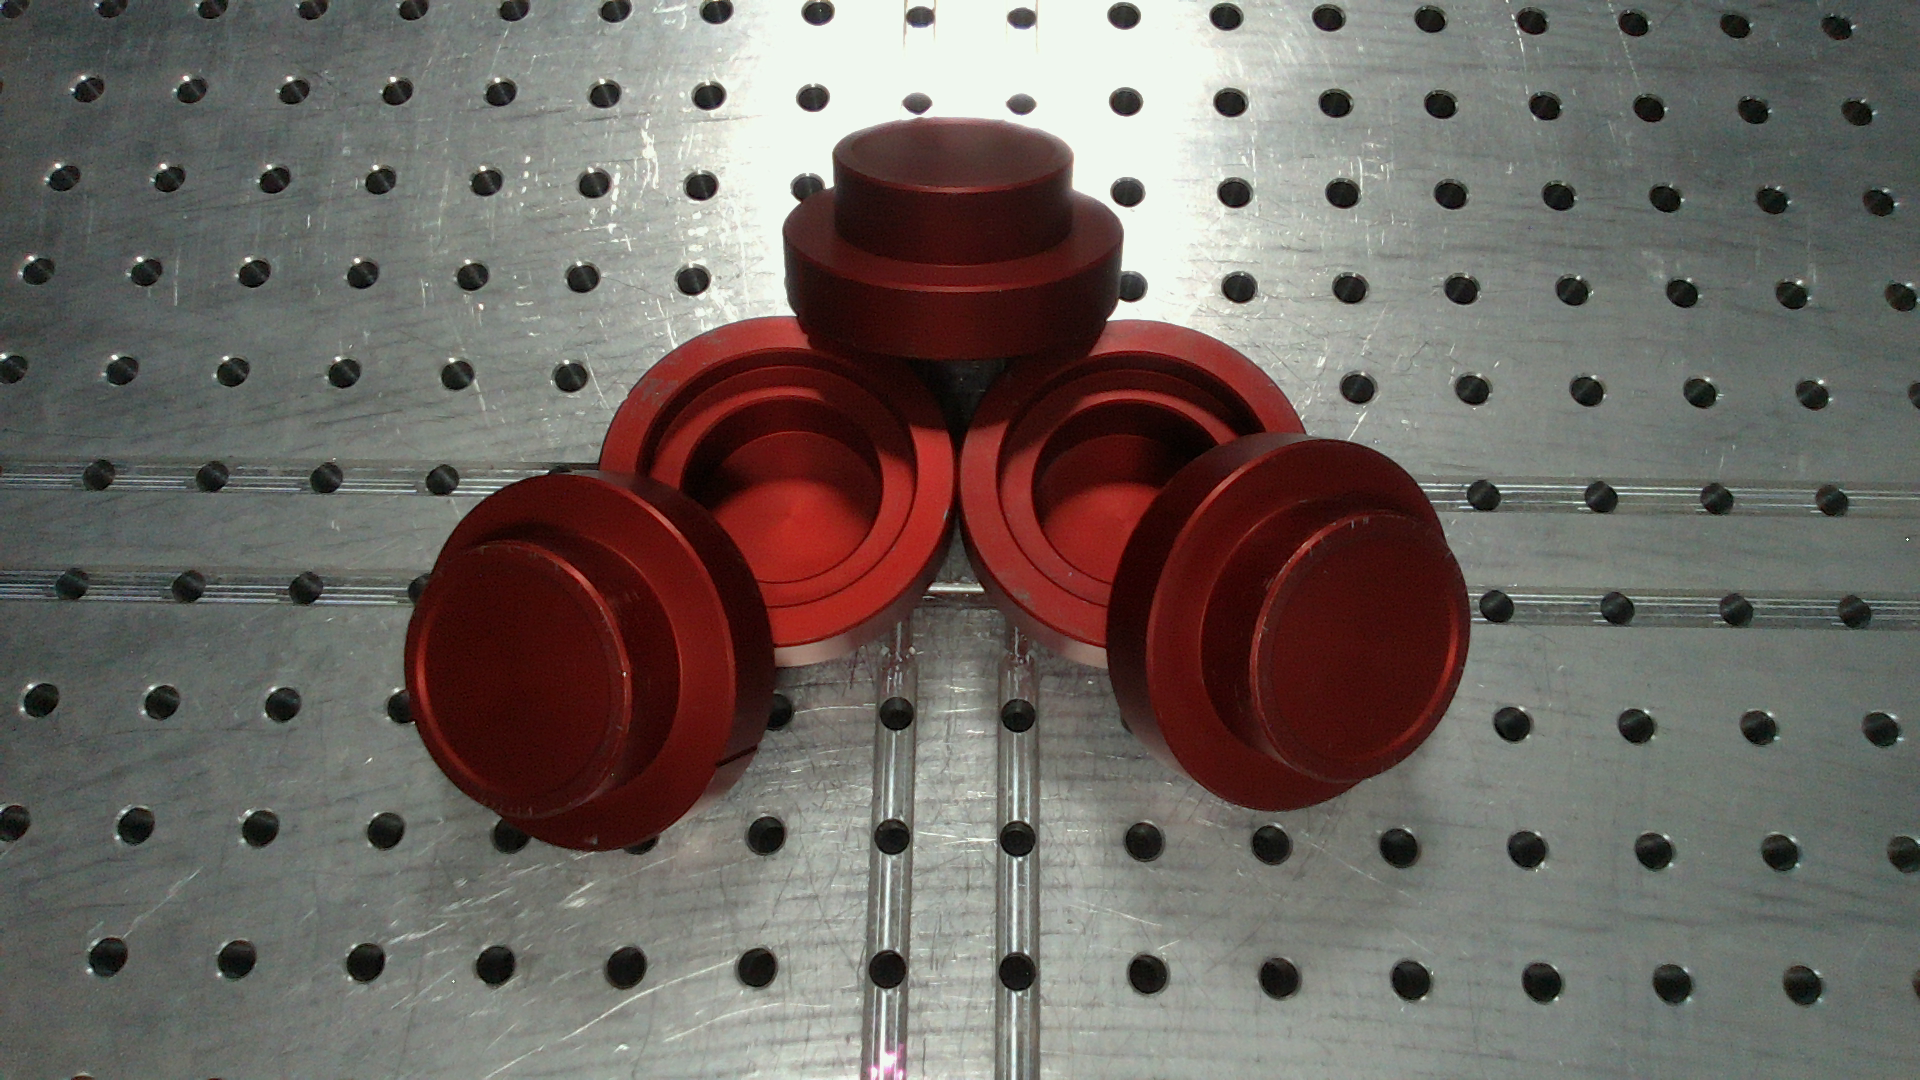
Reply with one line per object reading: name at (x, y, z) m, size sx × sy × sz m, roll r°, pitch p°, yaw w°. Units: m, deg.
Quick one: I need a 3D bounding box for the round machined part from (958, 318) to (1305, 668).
round machined part at (0.048, -0.010, 0.392) m, size 0.098 × 0.042 × 0.098 m, roll 0°, pitch 70°, yaw 0°

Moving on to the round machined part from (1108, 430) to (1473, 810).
round machined part at (0.090, 0.022, 0.351) m, size 0.098 × 0.042 × 0.098 m, roll -4°, pitch 100°, yaw -25°

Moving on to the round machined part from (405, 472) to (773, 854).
round machined part at (-0.100, 0.033, 0.351) m, size 0.098 × 0.042 × 0.098 m, roll 3°, pitch 97°, yaw 22°

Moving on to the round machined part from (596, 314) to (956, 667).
round machined part at (-0.050, -0.011, 0.391) m, size 0.098 × 0.042 × 0.098 m, roll 0°, pitch 70°, yaw 0°

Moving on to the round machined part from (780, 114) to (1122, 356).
round machined part at (-0.003, -0.092, 0.395) m, size 0.098 × 0.042 × 0.098 m, roll 0°, pitch 32°, yaw 0°
